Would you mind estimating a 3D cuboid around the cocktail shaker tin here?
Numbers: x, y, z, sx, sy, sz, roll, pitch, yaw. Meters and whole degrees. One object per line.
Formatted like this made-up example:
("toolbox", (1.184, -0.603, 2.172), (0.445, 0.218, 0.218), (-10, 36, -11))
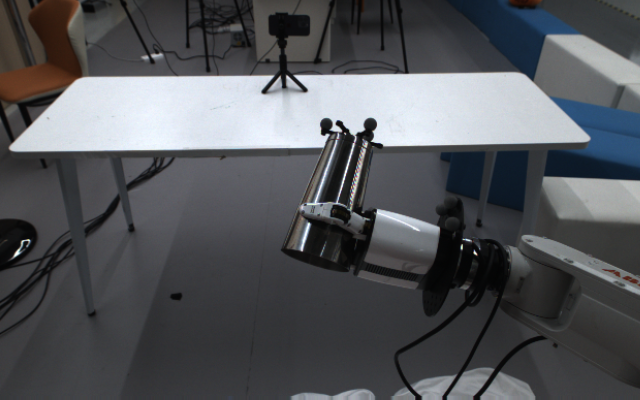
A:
("cocktail shaker tin", (0.017, 0.001, 0.643), (0.093, 0.093, 0.170), (13, 73, 15))
